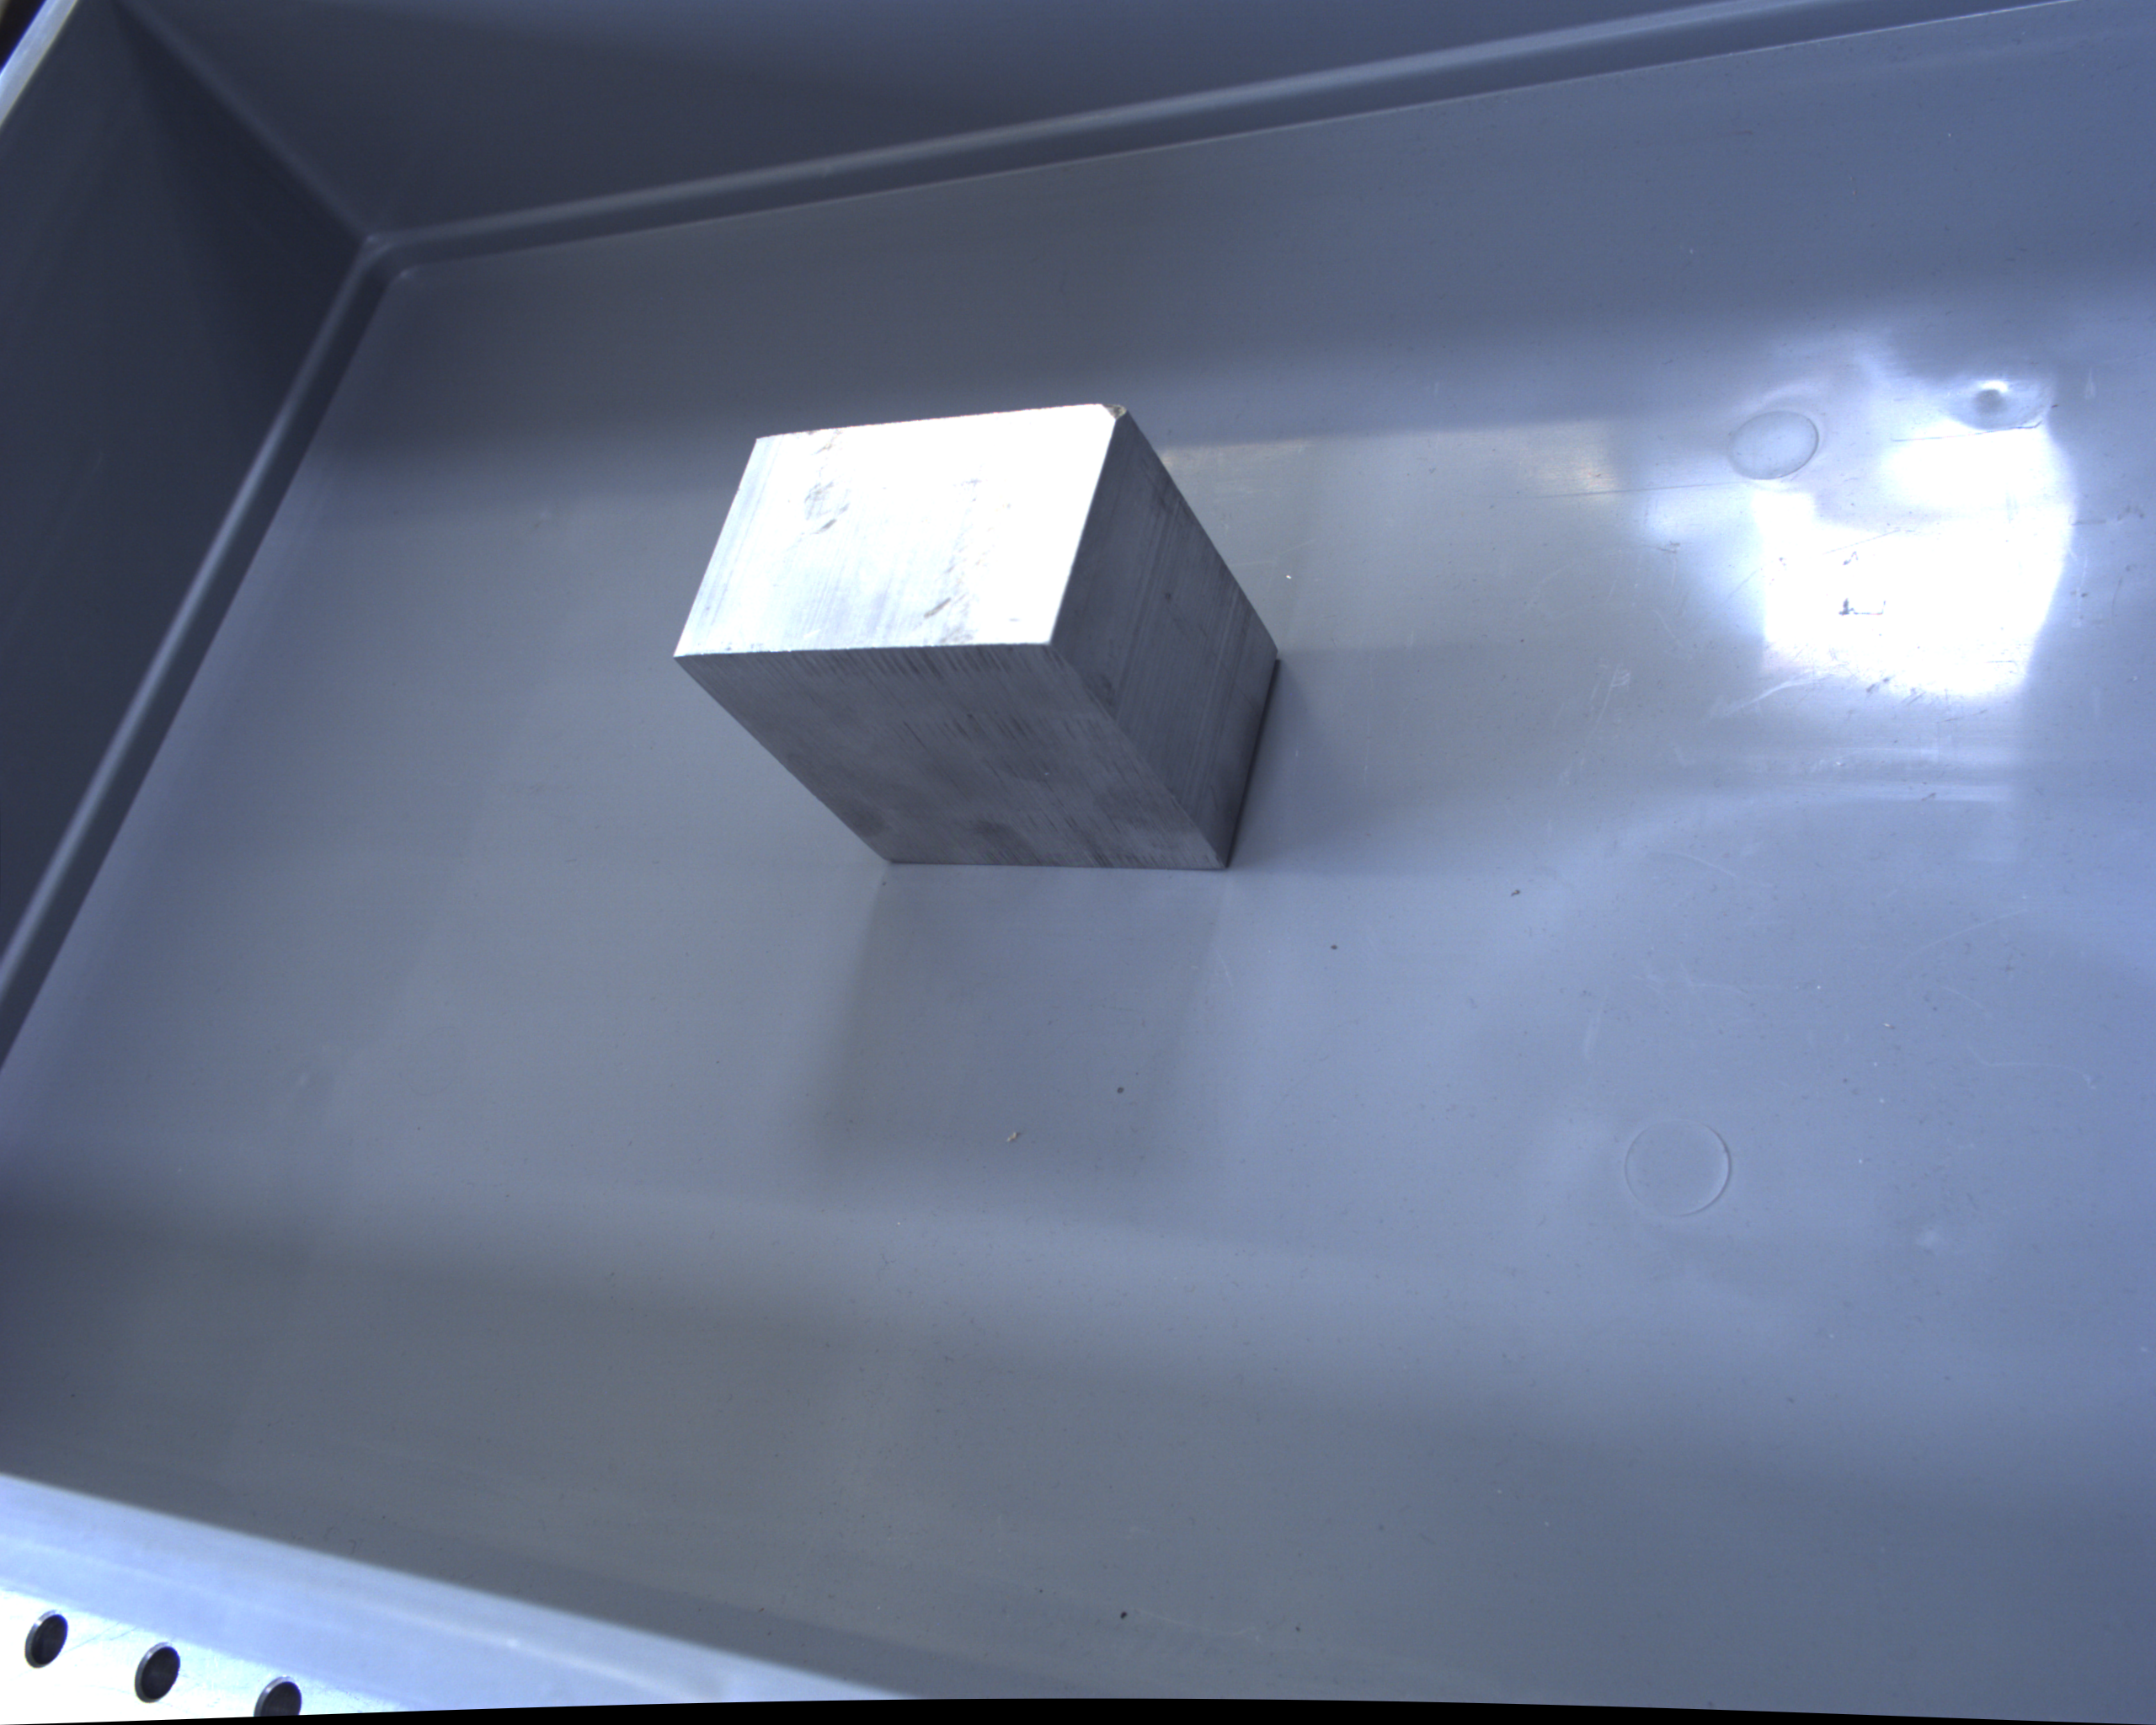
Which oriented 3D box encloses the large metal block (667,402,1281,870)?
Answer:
[{"bbox_3d":[-0.017,-0.040,0.402,0.080,0.080,0.050,1,63,28],"label":"large metal block"}]
